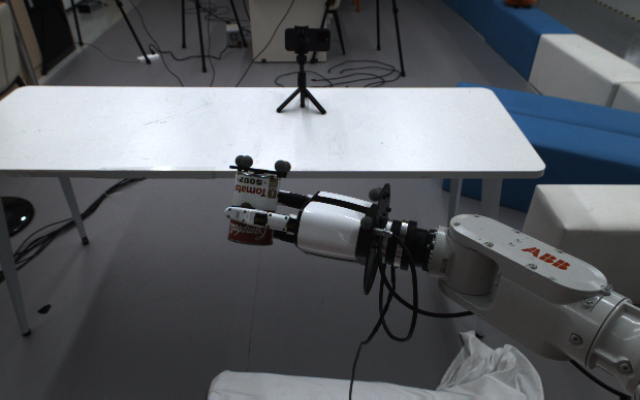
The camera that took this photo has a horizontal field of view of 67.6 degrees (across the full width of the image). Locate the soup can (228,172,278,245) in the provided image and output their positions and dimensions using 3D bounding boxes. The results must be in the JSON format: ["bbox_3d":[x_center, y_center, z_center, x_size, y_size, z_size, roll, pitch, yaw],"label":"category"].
[{"bbox_3d":[-0.096,0.013,0.716,0.067,0.101,0.067,7,4,0],"label":"soup can"}]
